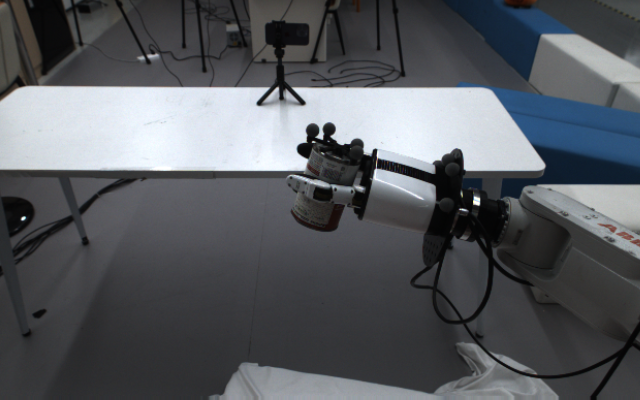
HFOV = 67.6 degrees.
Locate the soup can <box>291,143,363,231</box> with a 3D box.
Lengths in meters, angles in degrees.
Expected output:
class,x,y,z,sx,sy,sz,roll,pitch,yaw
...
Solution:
class,x,y,z,sx,sy,sz,roll,pitch,yaw
soup can,0.009,-0.018,0.642,0.067,0.101,0.067,17,21,-7
